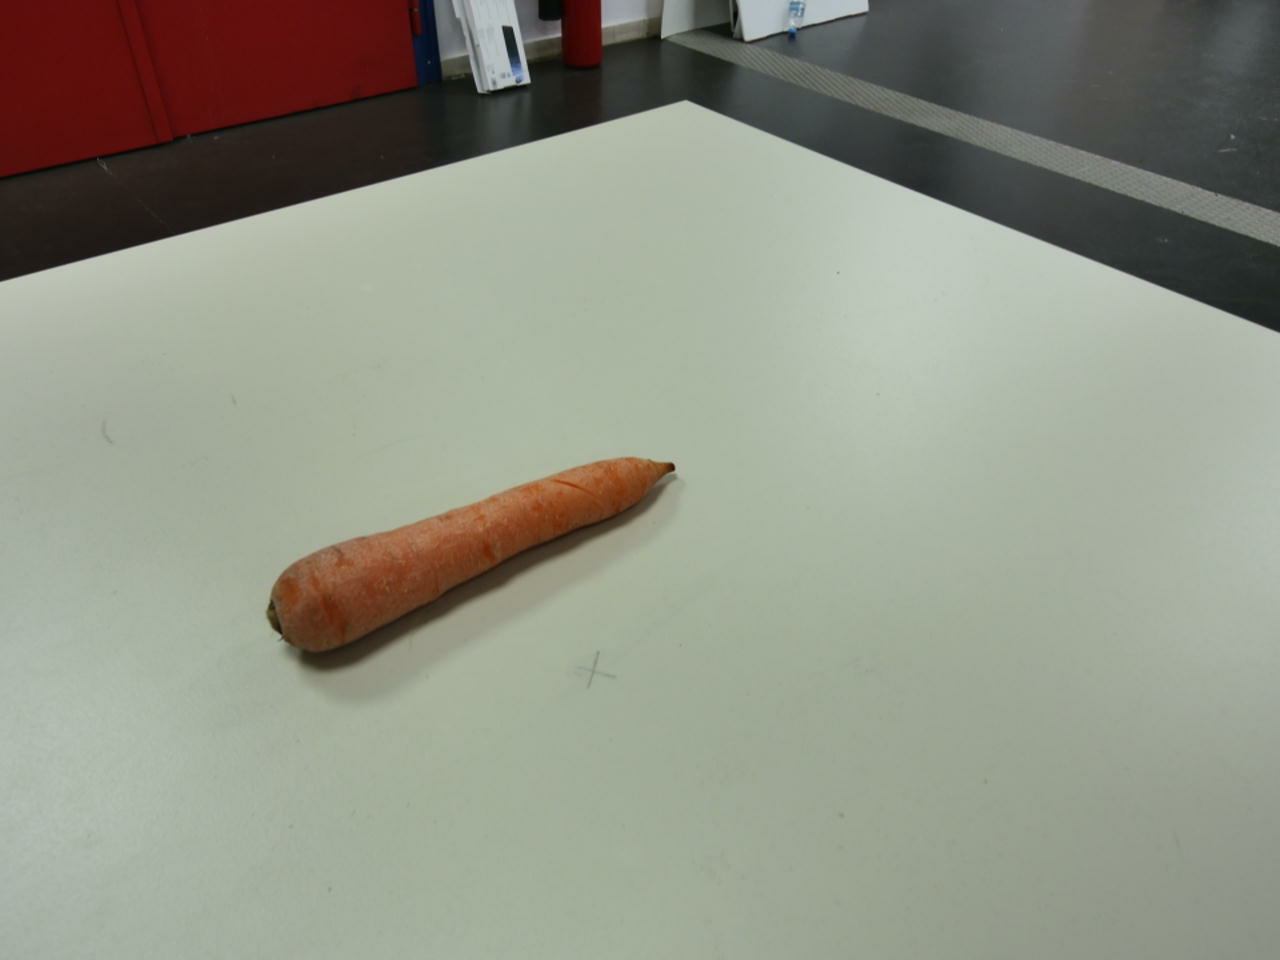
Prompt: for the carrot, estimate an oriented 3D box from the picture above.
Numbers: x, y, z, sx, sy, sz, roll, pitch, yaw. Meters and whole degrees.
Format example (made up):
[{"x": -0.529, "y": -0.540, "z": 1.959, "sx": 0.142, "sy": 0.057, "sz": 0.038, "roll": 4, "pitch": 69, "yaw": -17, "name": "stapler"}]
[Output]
[{"x": -0.063, "y": 0.019, "z": 0.427, "sx": 0.196, "sy": 0.041, "sz": 0.039, "roll": -26, "pitch": 44, "yaw": -31, "name": "carrot"}]
